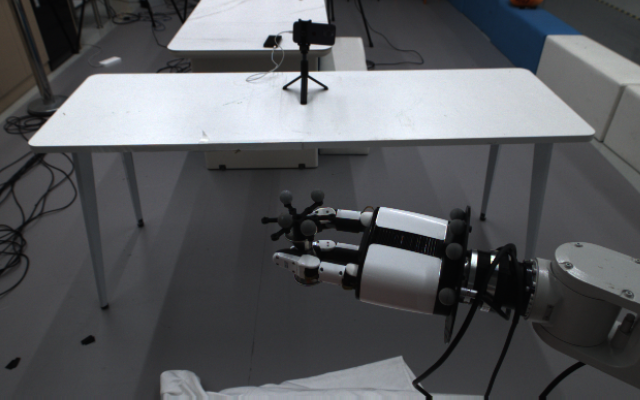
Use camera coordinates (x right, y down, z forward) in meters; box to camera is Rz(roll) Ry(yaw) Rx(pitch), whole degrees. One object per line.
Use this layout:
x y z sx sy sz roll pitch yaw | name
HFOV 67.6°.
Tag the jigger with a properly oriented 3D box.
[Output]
-0.015 0.063 0.597 0.043 0.071 0.043 -9 31 5 | jigger
